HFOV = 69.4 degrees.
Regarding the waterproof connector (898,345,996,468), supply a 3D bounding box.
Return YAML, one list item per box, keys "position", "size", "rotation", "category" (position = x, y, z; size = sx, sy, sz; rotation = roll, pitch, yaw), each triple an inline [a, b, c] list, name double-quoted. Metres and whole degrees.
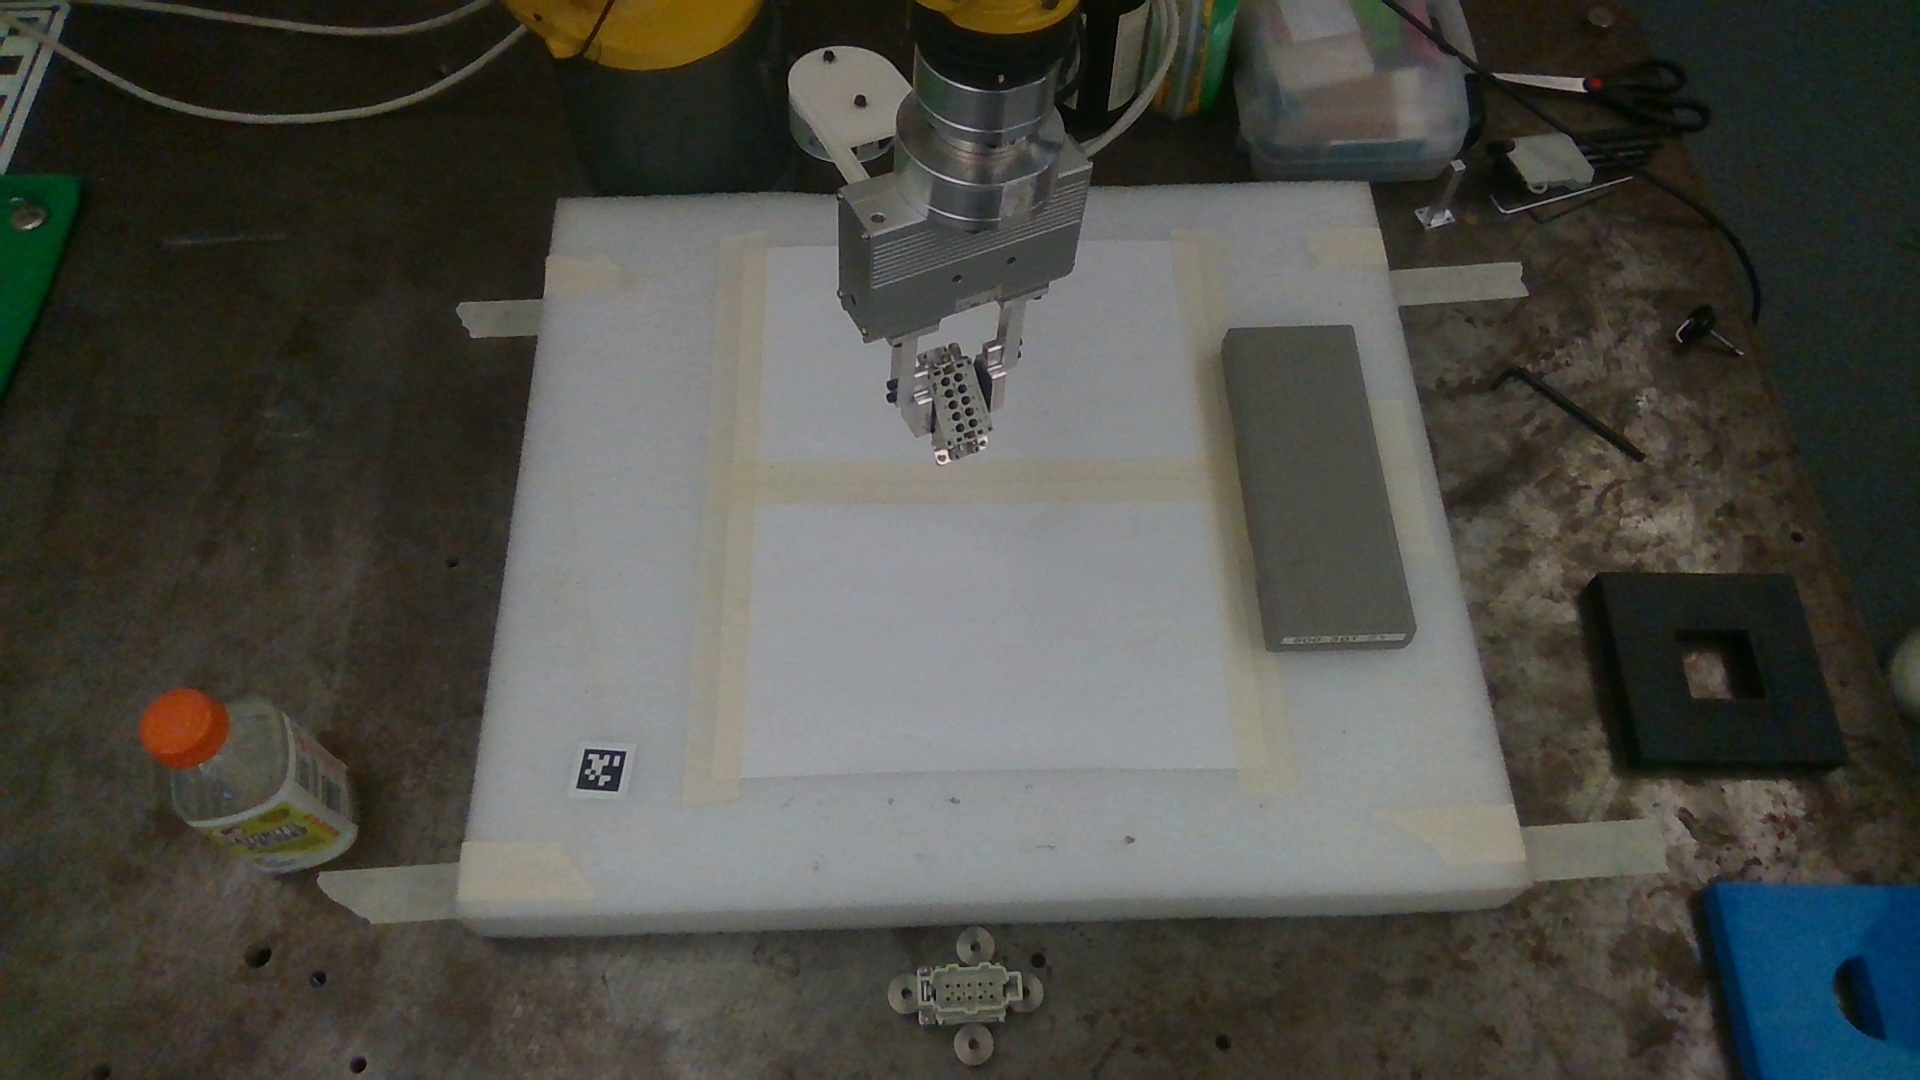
- position: [-0.008, -0.080, 0.816]
  size: [0.036, 0.039, 0.069]
  rotation: [-23, 93, -23]
  category: "waterproof connector"
